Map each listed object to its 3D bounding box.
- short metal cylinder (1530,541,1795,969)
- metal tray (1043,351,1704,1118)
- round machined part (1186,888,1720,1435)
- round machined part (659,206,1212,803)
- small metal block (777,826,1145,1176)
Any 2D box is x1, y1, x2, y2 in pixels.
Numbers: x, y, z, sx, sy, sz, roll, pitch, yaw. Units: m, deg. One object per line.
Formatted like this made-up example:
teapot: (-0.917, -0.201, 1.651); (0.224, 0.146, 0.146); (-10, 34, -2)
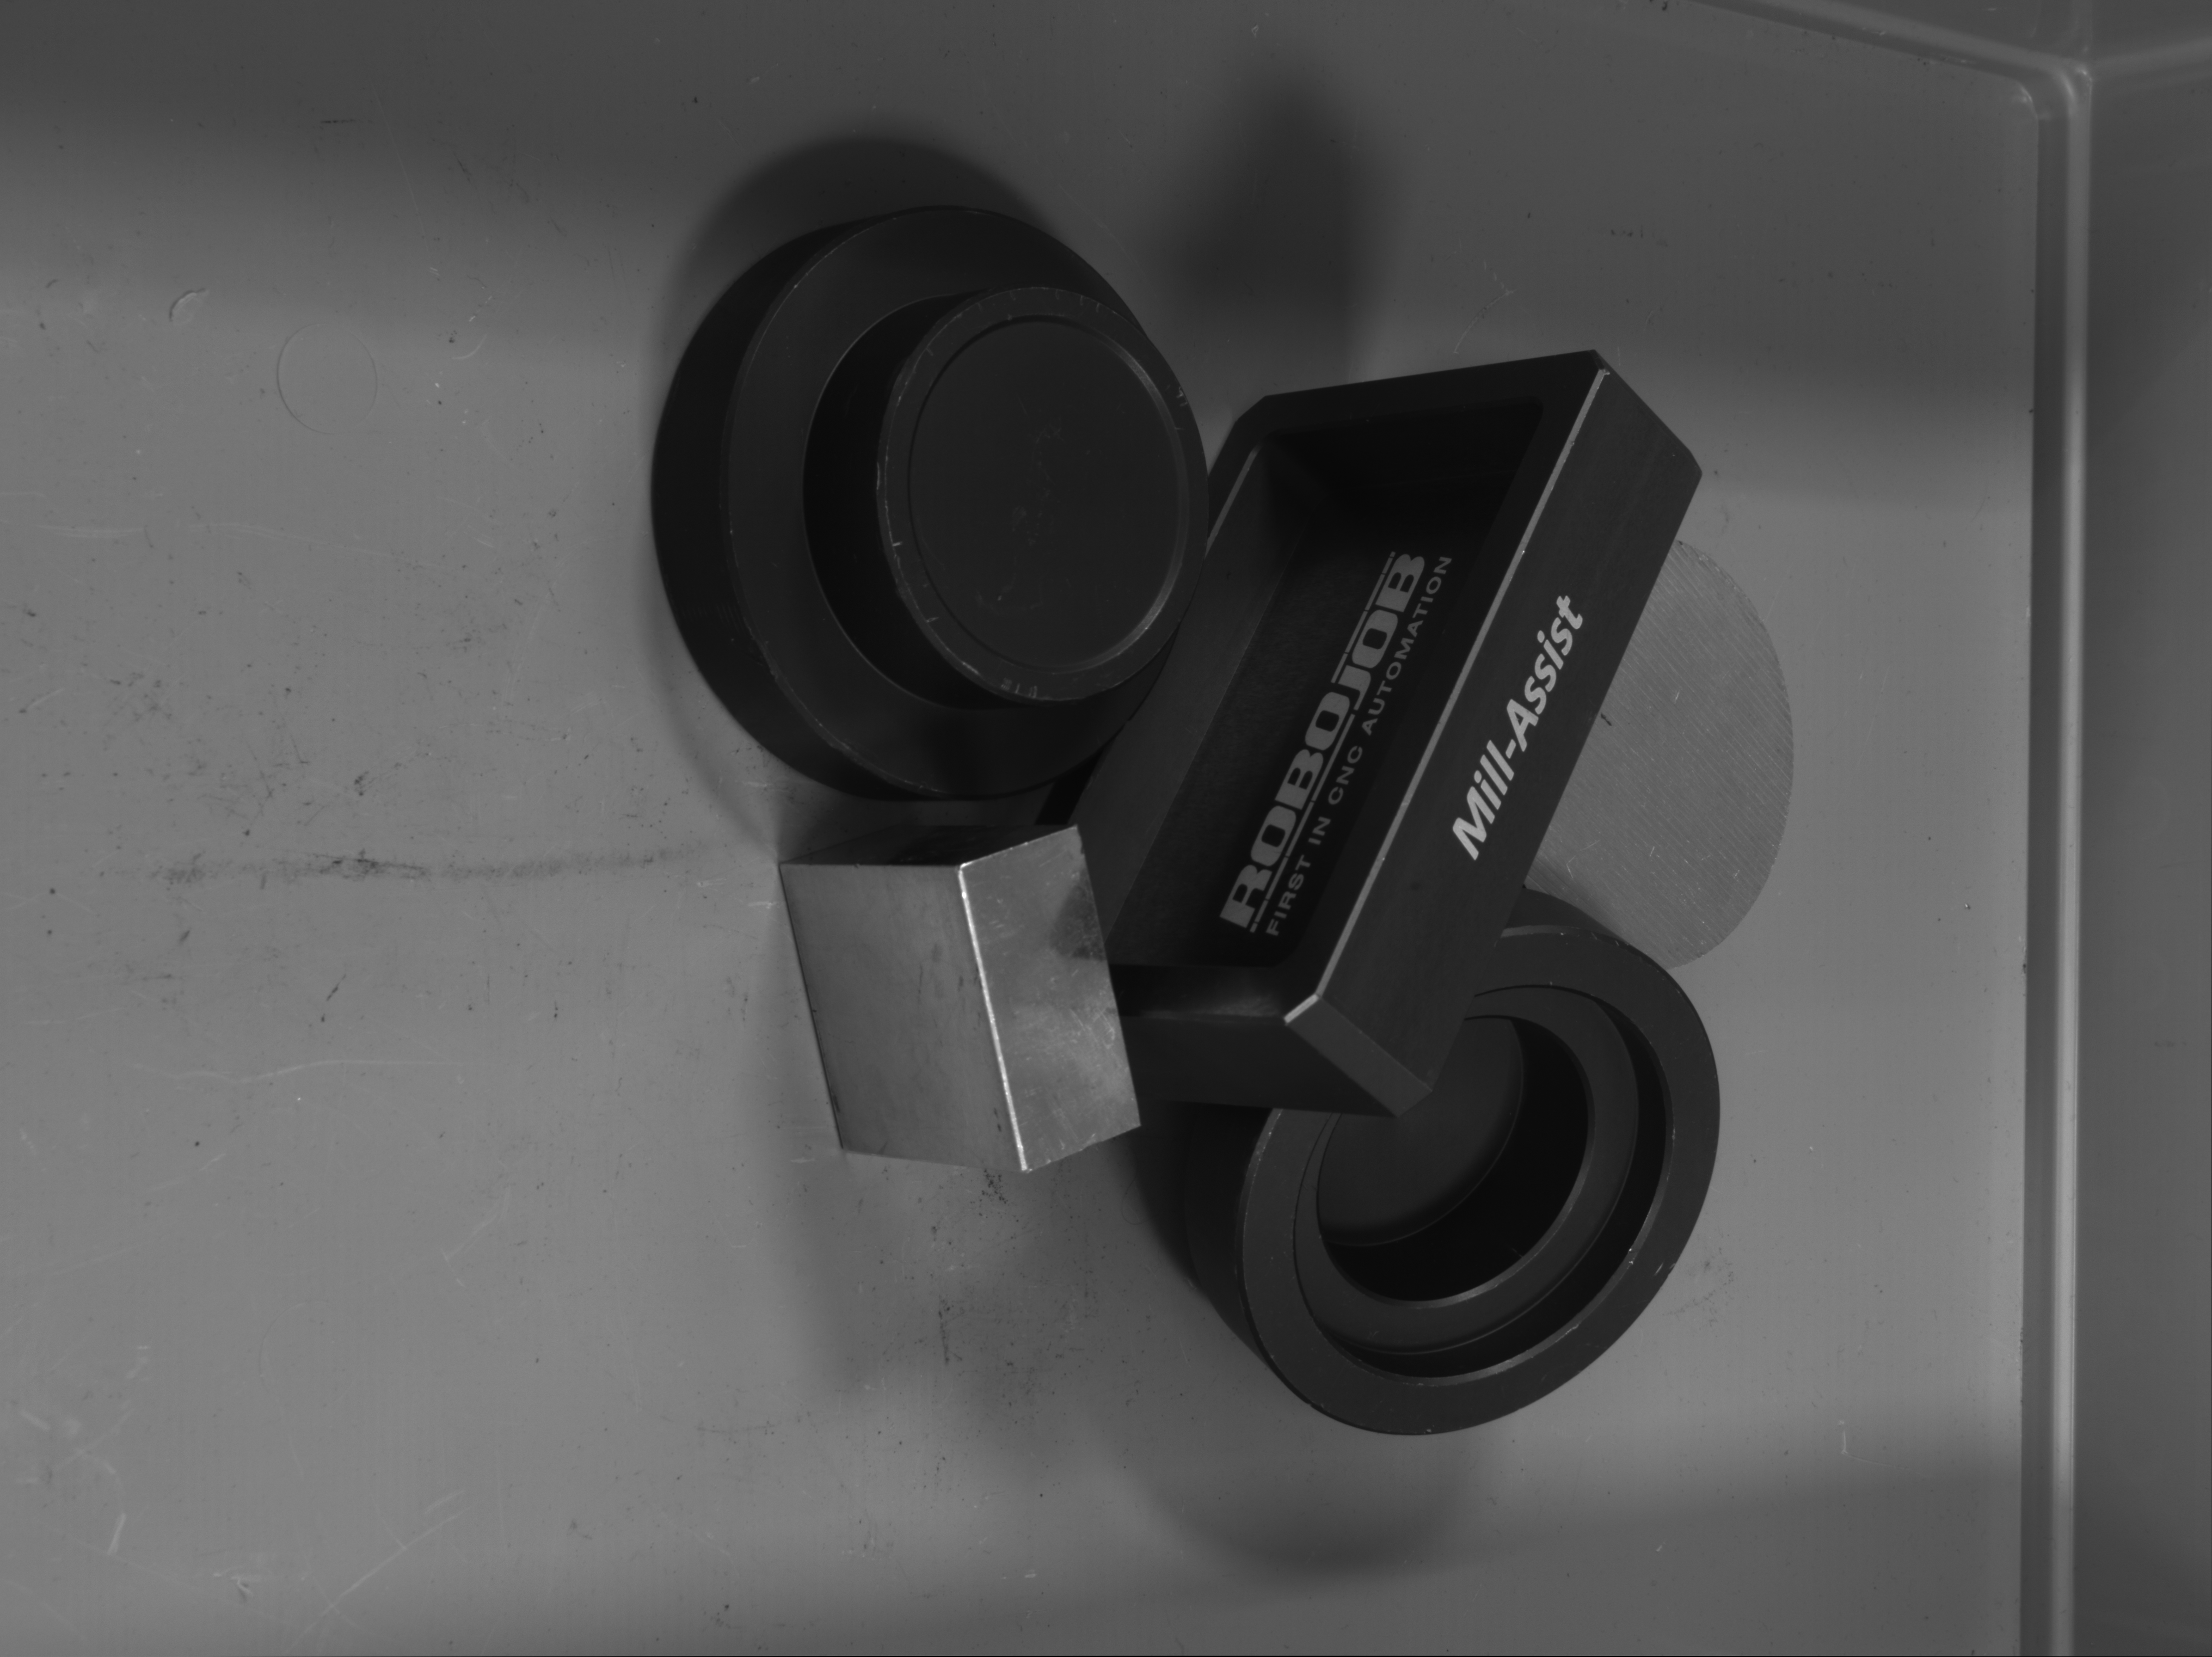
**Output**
short metal cylinder: (0.083, -0.014, 0.687); (0.080, 0.050, 0.080); (0, 90, -40)
metal tray: (0.038, -0.017, 0.624); (0.030, 0.090, 0.130); (40, 66, -32)
round machined part: (0.057, 0.055, 0.656); (0.098, 0.042, 0.098); (-11, 116, -24)
round machined part: (-0.021, -0.053, 0.605); (0.098, 0.042, 0.098); (0, 90, -40)
small metal block: (-0.024, 0.027, 0.598); (0.025, 0.050, 0.050); (-19, 102, -38)
